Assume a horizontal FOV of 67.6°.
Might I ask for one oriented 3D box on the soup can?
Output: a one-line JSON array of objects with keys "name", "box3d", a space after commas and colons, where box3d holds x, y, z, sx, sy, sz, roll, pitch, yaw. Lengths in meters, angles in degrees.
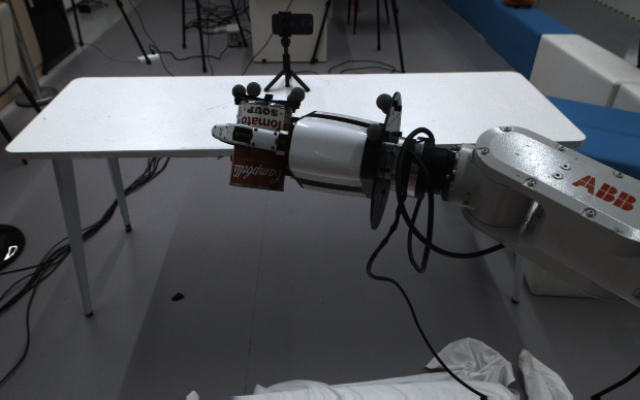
[{"name": "soup can", "box3d": [-0.071, -0.064, 0.590, 0.067, 0.101, 0.067, 7, 3, 0]}]
